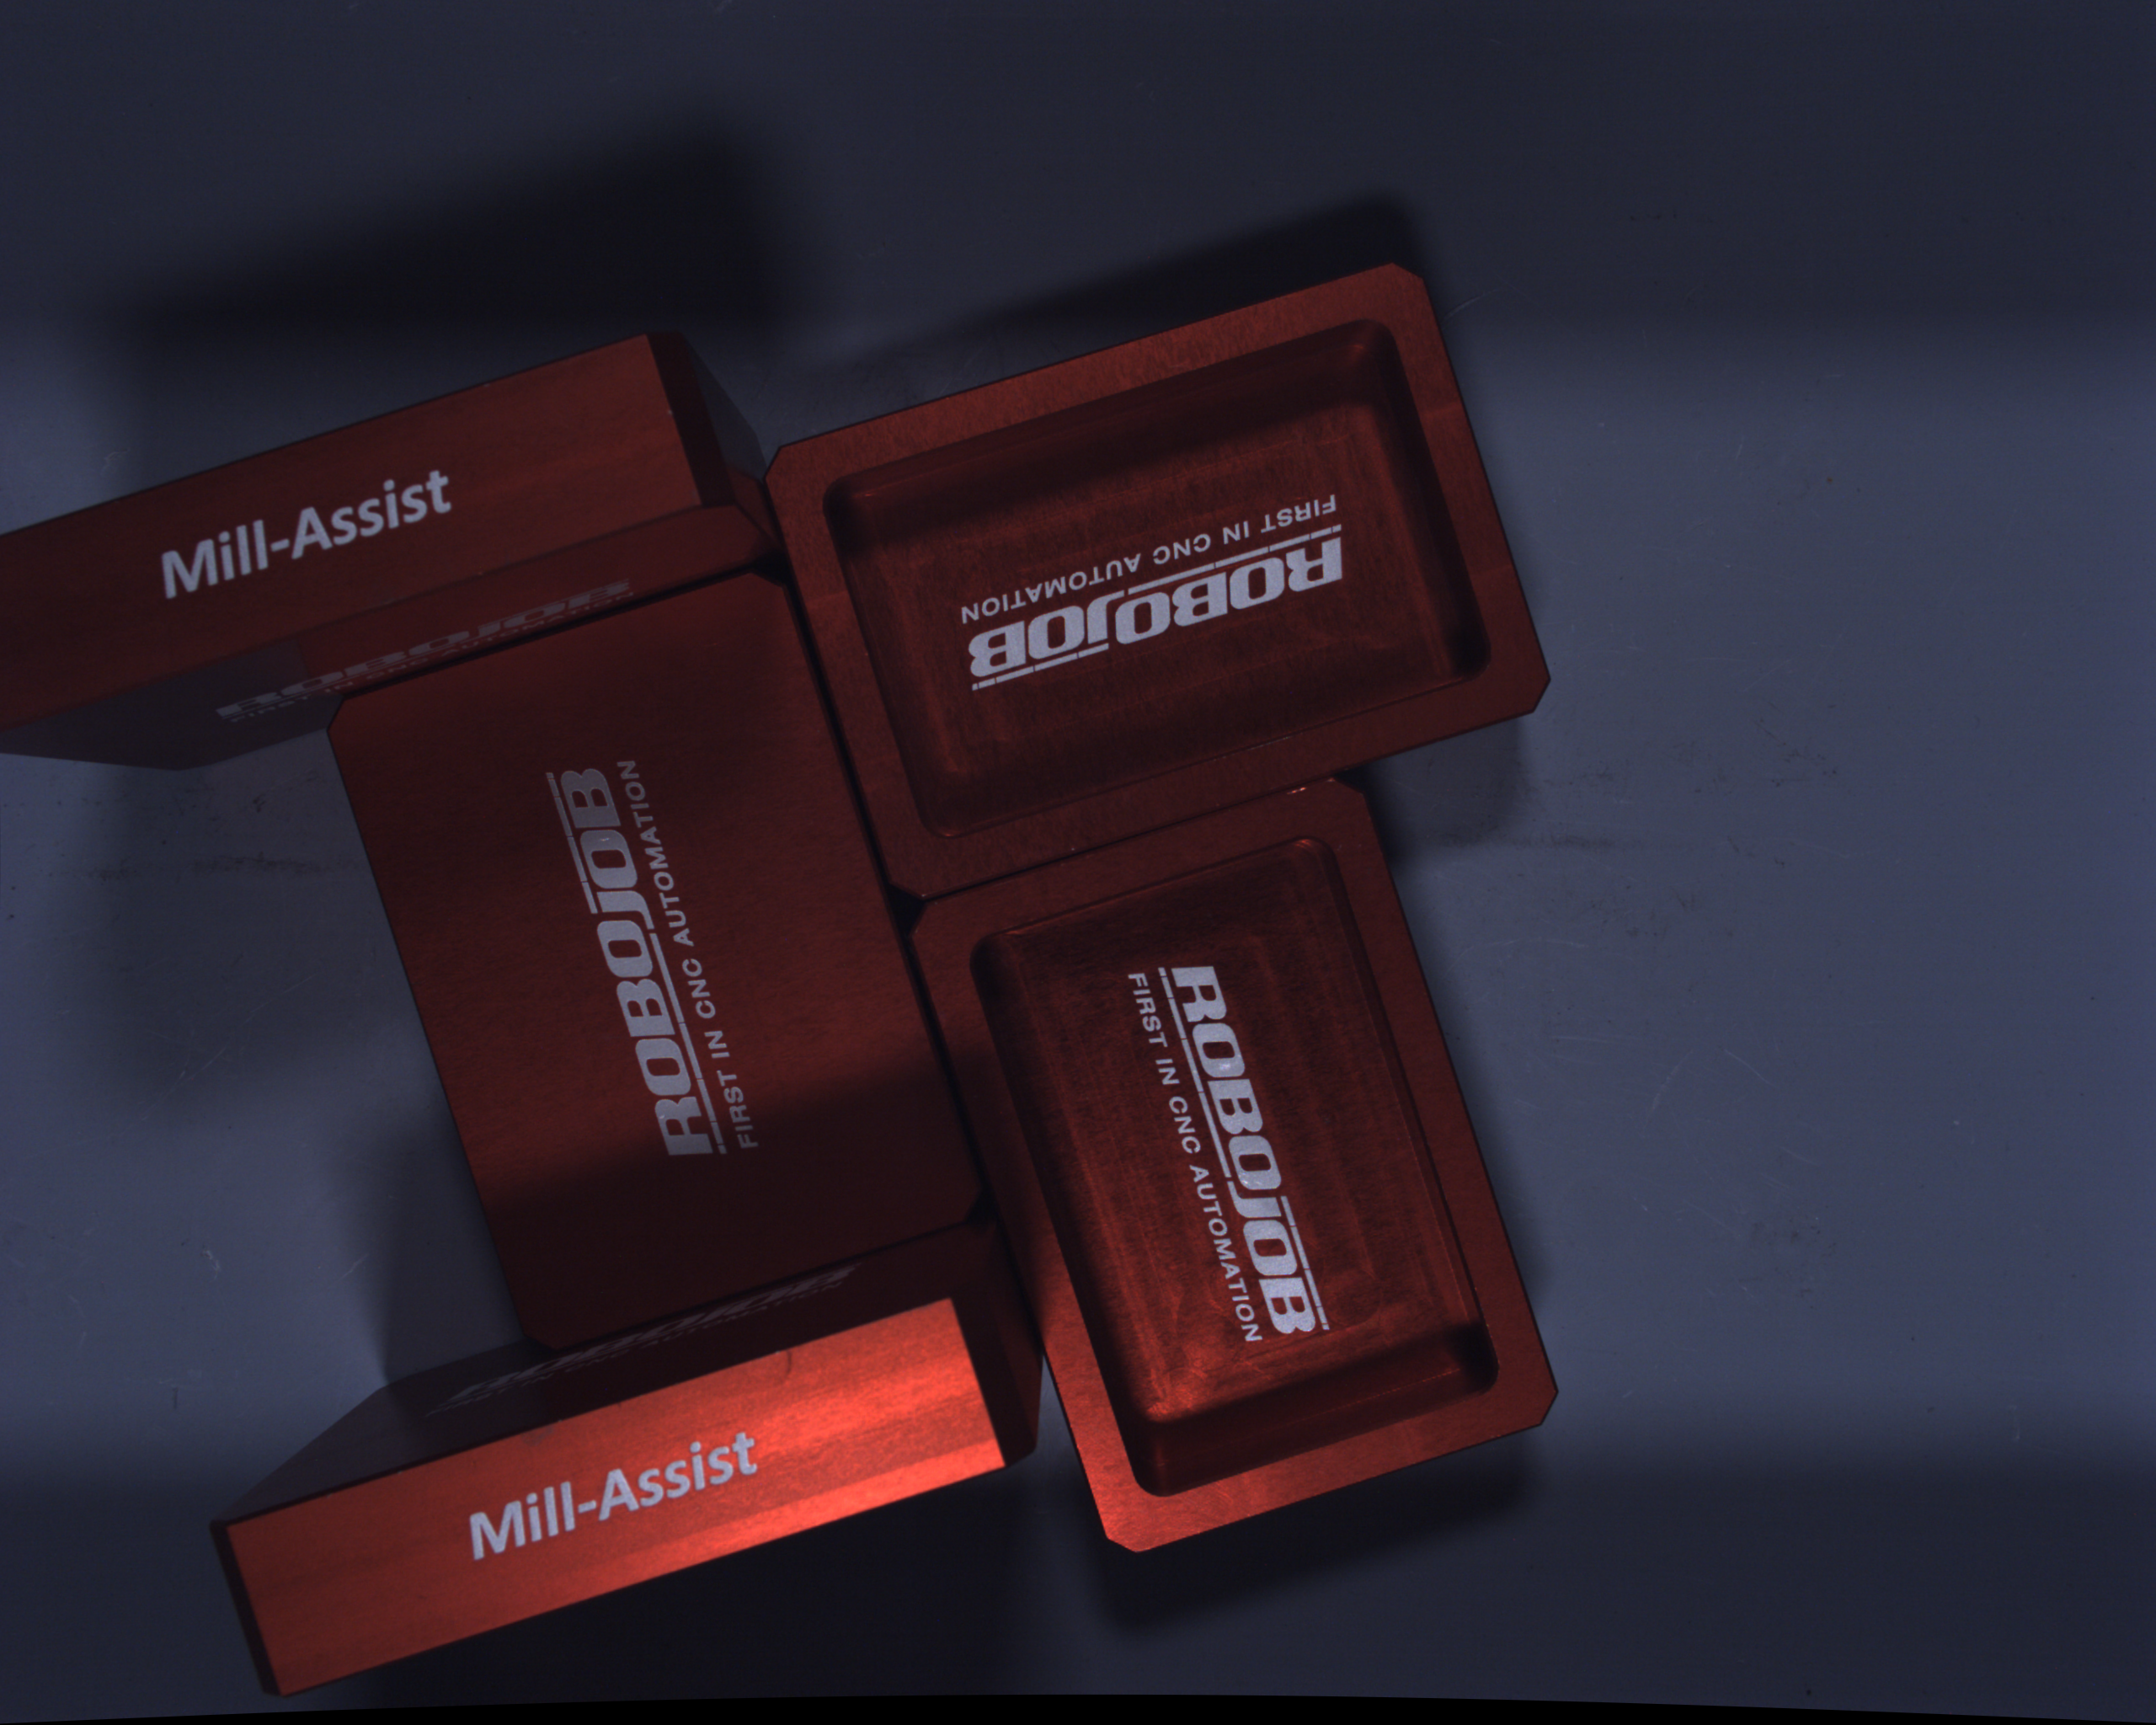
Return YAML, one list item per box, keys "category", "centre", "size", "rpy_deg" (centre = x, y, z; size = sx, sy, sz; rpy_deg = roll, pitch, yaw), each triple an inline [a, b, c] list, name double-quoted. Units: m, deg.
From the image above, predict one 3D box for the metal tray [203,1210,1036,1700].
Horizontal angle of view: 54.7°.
- category: "metal tray"
  centre: [-0.074, 0.101, 0.375]
  size: [0.131, 0.090, 0.030]
  rpy_deg: [-17, 90, -1]

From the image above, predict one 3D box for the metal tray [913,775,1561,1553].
- category: "metal tray"
  centre: [0.030, 0.057, 0.408]
  size: [0.090, 0.030, 0.129]
  rpy_deg: [-17, 90, -1]

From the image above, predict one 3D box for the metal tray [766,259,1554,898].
- category: "metal tray"
  centre: [0.016, -0.054, 0.407]
  size: [0.131, 0.030, 0.090]
  rpy_deg: [-17, 90, -1]

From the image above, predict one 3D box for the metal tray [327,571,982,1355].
- category: "metal tray"
  centre: [-0.079, 0.019, 0.405]
  size: [0.090, 0.030, 0.129]
  rpy_deg: [-17, 90, -1]

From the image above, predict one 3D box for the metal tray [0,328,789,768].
- category: "metal tray"
  centre: [-0.123, -0.052, 0.374]
  size: [0.131, 0.090, 0.030]
  rpy_deg: [-18, 90, -1]
